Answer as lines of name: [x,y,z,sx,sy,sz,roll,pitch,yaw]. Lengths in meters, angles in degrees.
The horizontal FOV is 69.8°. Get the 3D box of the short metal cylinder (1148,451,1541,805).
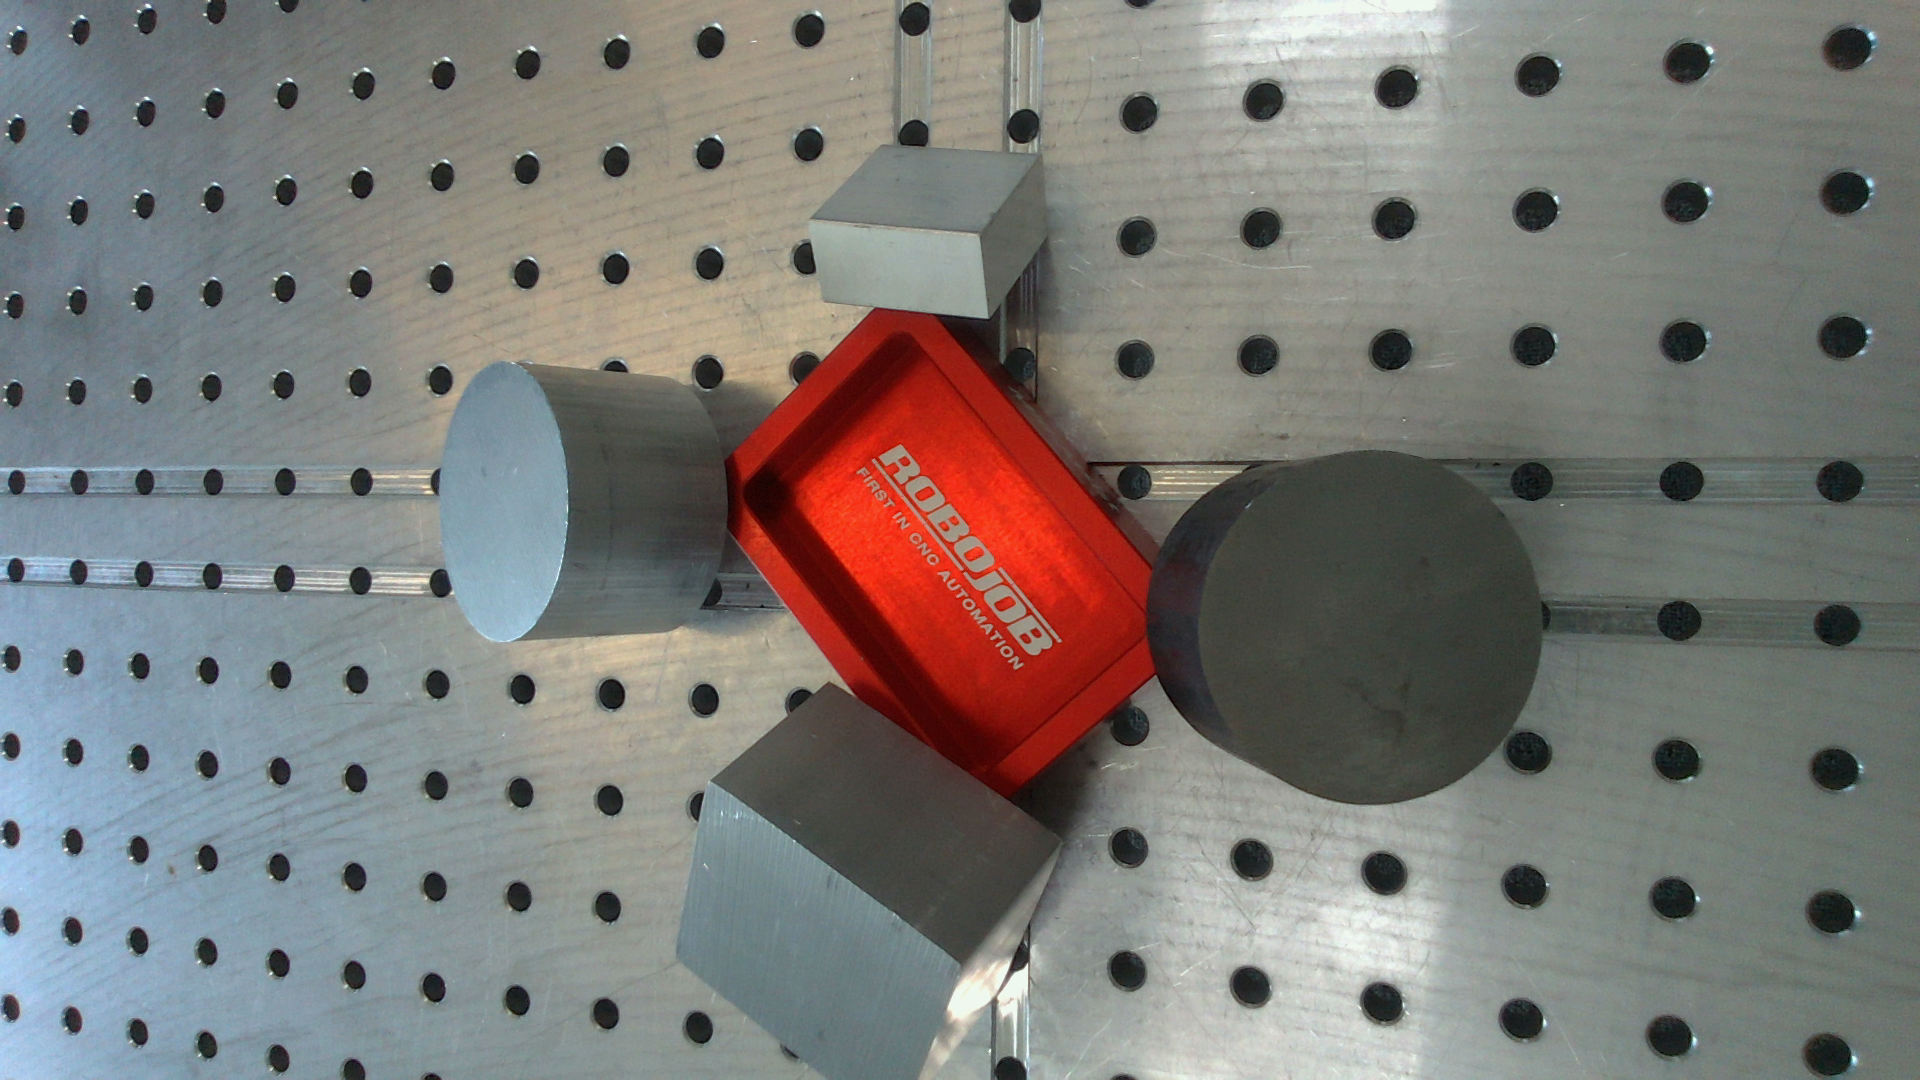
short metal cylinder: [0.091,0.020,0.336,0.080,0.050,0.080,0,90,-6]

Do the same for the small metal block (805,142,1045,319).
small metal block: [-0.008,-0.088,0.385,0.050,0.050,0.025,10,131,20]

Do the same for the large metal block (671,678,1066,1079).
large metal block: [-0.028,0.099,0.377,0.080,0.050,0.080,32,131,17]

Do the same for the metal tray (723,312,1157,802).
metal tray: [-0.002,0.004,0.396,0.090,0.030,0.130,-43,77,15]

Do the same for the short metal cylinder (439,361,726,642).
short metal cylinder: [-0.114,-0.011,0.410,0.080,0.050,0.080,1,91,46]
